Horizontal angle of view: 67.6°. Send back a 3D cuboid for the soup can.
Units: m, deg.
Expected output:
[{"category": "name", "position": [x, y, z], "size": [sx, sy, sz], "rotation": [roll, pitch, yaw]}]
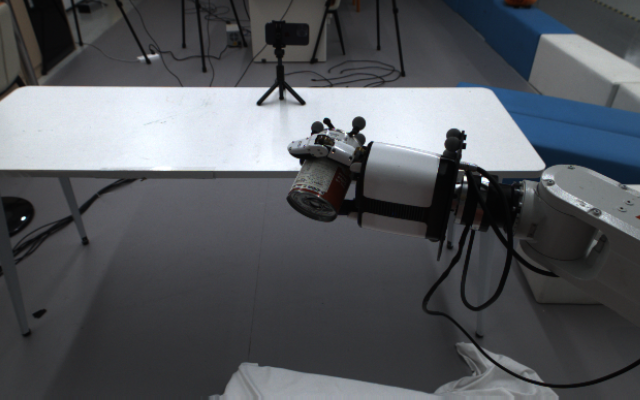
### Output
[{"category": "soup can", "position": [0.009, -0.033, 0.618], "size": [0.067, 0.067, 0.101], "rotation": [15, 63, 18]}]
